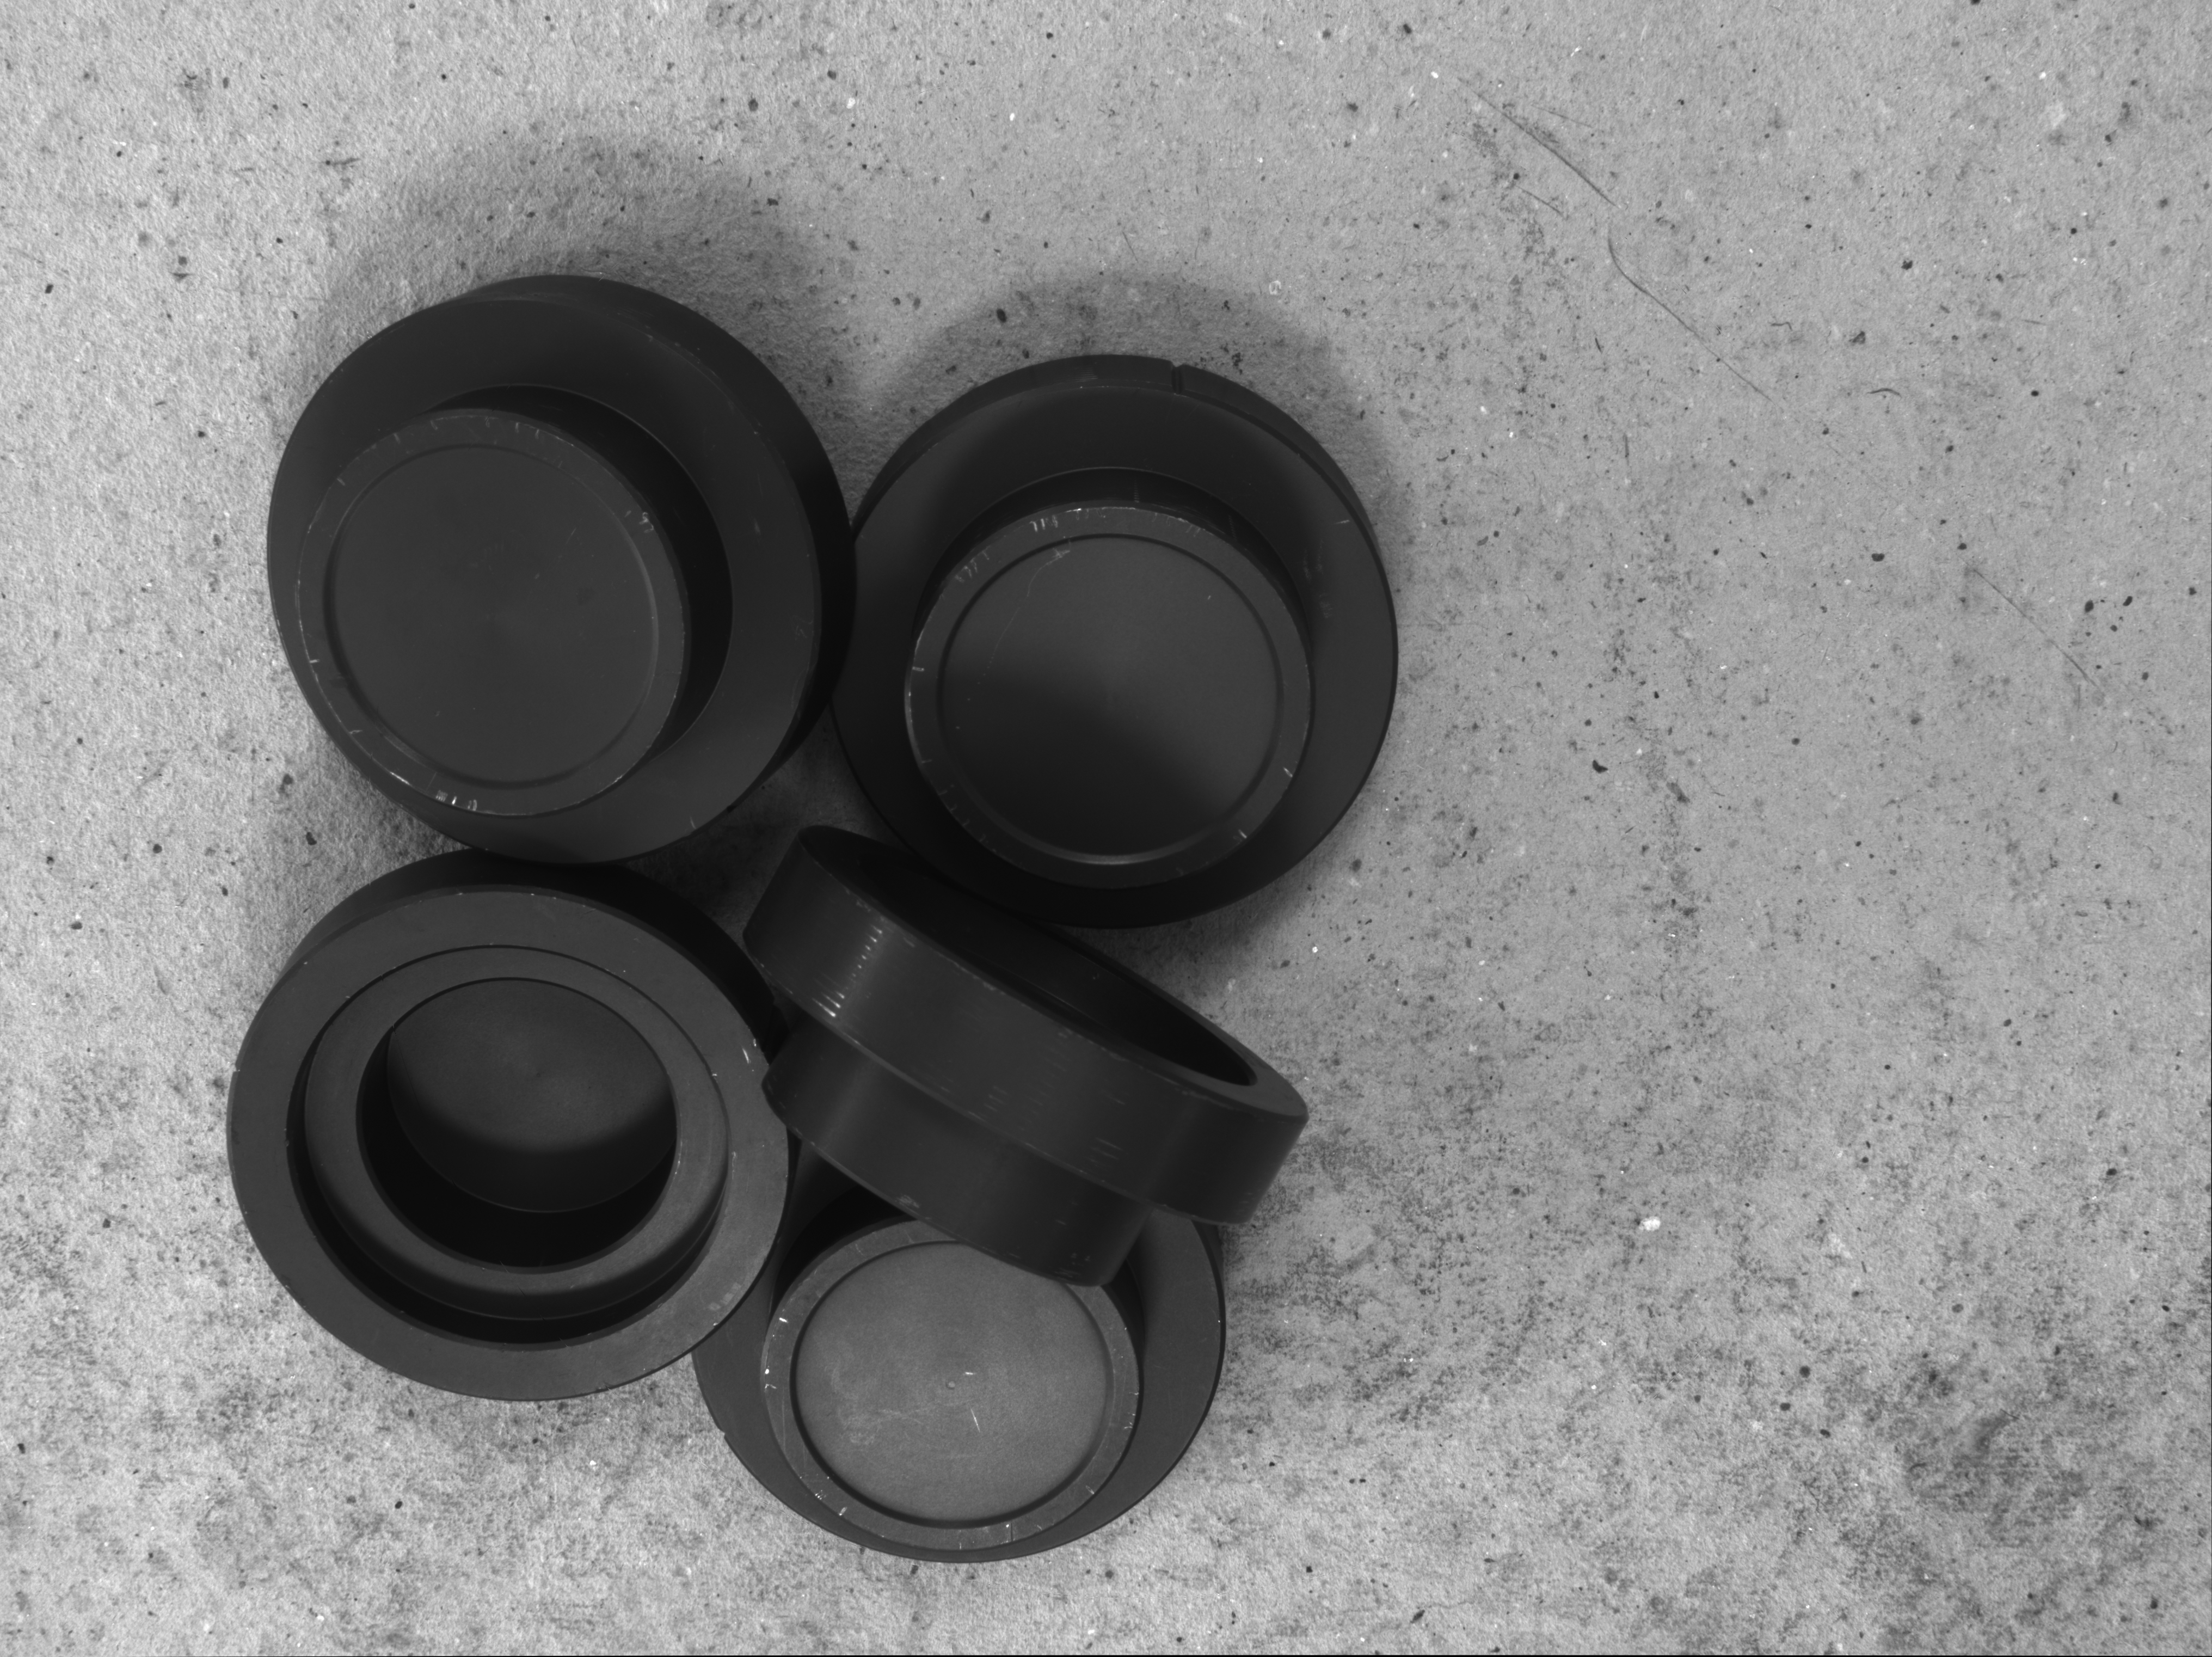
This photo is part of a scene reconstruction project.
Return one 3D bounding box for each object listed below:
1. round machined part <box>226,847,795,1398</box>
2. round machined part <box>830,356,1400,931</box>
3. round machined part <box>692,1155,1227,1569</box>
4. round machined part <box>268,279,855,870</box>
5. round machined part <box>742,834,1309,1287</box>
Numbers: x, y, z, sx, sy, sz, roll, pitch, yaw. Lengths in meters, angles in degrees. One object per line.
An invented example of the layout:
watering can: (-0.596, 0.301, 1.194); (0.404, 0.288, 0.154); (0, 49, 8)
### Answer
round machined part: (-0.103, 0.048, 0.652); (0.098, 0.042, 0.098); (0, 111, 0)
round machined part: (0.001, -0.028, 0.624); (0.098, 0.042, 0.098); (0, 109, -1)
round machined part: (-0.027, 0.092, 0.668); (0.098, 0.042, 0.098); (0, 108, -1)
round machined part: (-0.095, -0.039, 0.609); (0.098, 0.042, 0.098); (4, 108, 13)
round machined part: (-0.018, 0.042, 0.617); (0.098, 0.098, 0.042); (28, 94, -10)
